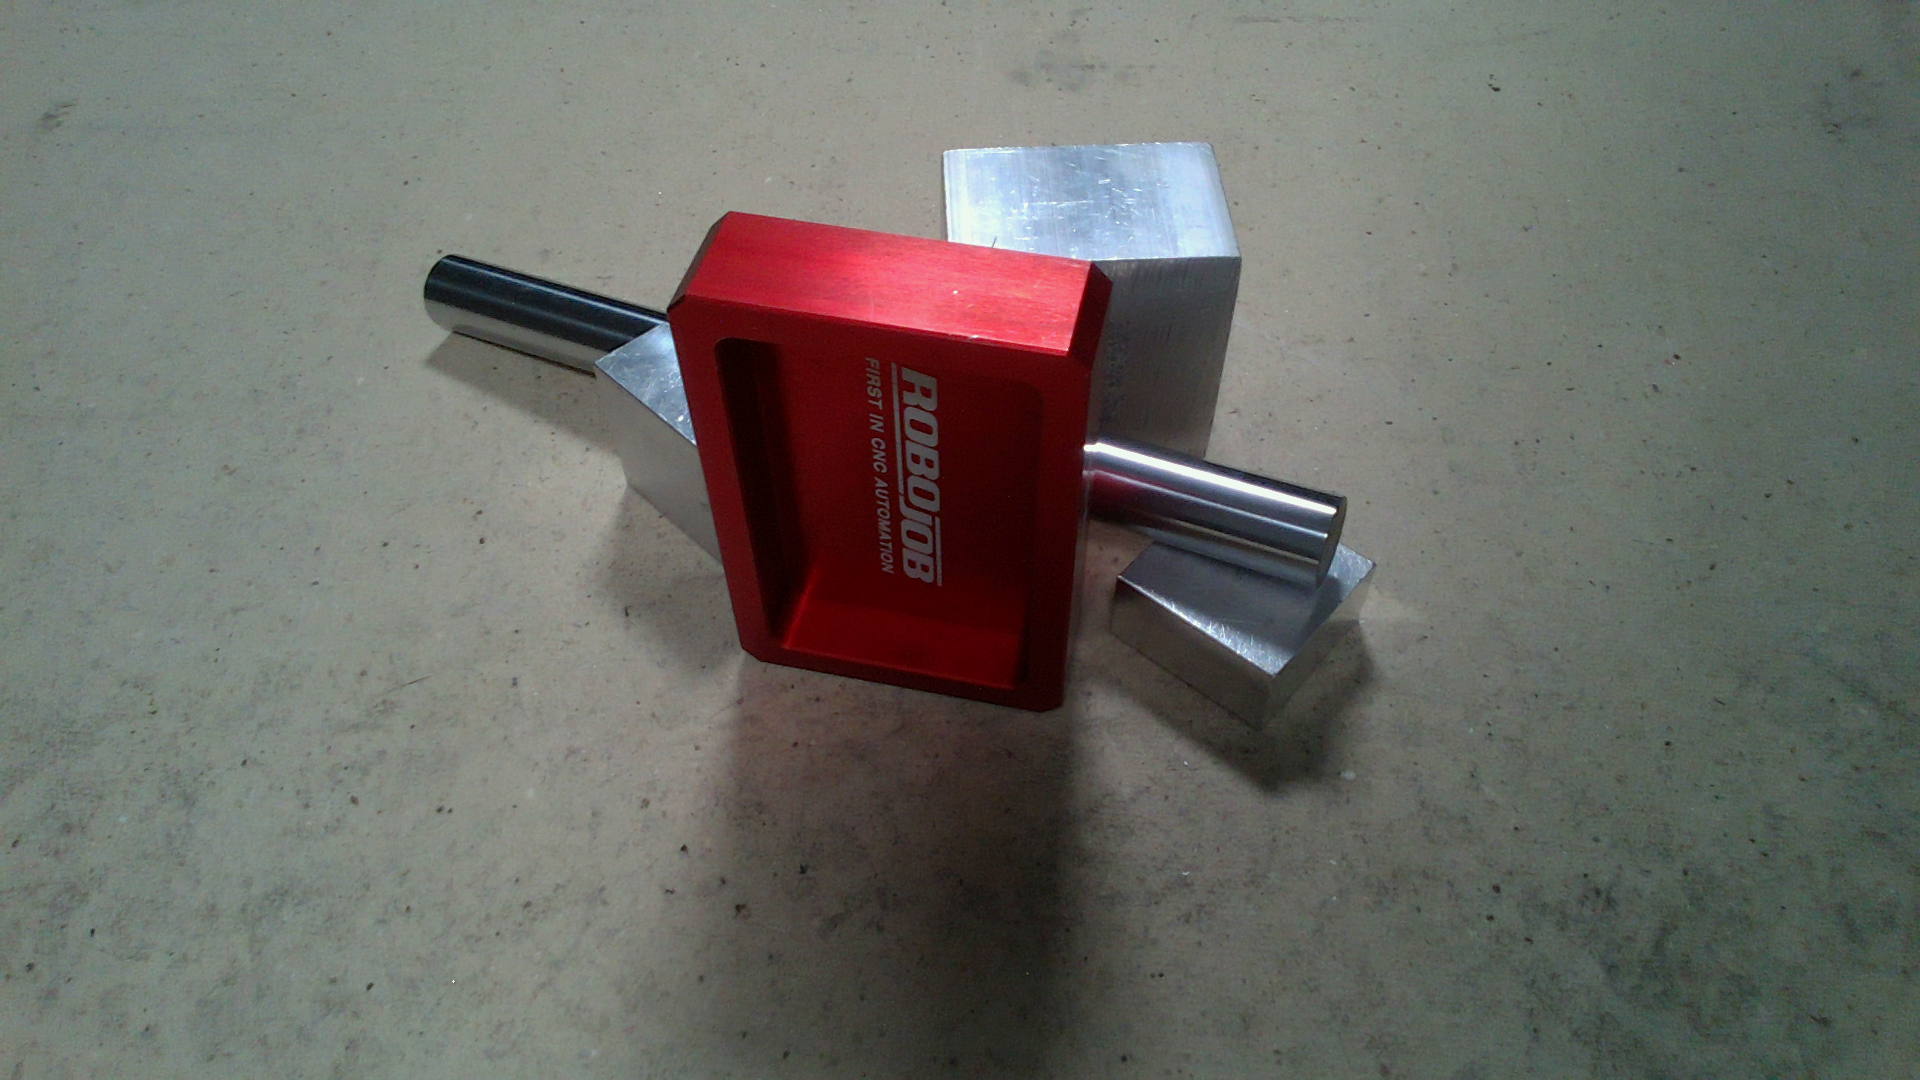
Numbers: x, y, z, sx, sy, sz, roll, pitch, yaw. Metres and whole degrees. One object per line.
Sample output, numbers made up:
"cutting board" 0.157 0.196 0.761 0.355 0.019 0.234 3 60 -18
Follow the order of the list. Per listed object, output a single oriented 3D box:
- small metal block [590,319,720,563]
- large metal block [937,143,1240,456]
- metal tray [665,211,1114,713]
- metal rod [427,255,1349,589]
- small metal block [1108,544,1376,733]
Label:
"small metal block" -0.077 -0.027 0.398 0.050 0.050 0.025 37 59 27
"large metal block" 0.034 -0.069 0.413 0.080 0.080 0.050 -2 50 -1
"metal tray" -0.014 -0.013 0.334 0.090 0.130 0.030 9 50 8
"metal rod" -0.036 -0.041 0.409 0.299 0.025 0.025 17 52 21
"small metal block" 0.077 0.016 0.379 0.050 0.025 0.050 34 58 25
